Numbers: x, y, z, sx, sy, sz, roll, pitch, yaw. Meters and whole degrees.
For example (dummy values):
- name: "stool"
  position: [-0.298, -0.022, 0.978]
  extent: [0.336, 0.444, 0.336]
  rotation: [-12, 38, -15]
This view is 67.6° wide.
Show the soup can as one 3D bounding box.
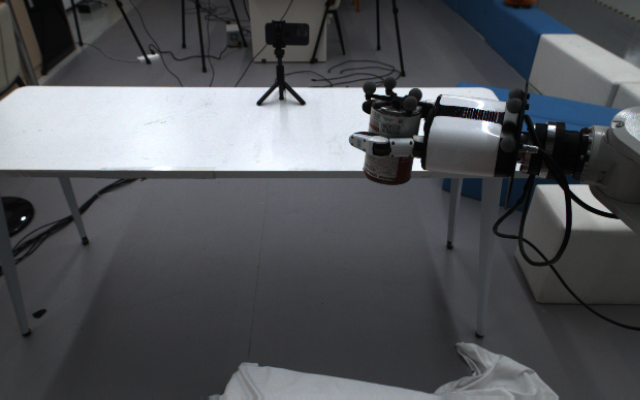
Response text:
- name: "soup can"
  position: [0.097, -0.081, 0.653]
  extent: [0.067, 0.101, 0.067]
  rotation: [3, 30, -2]
